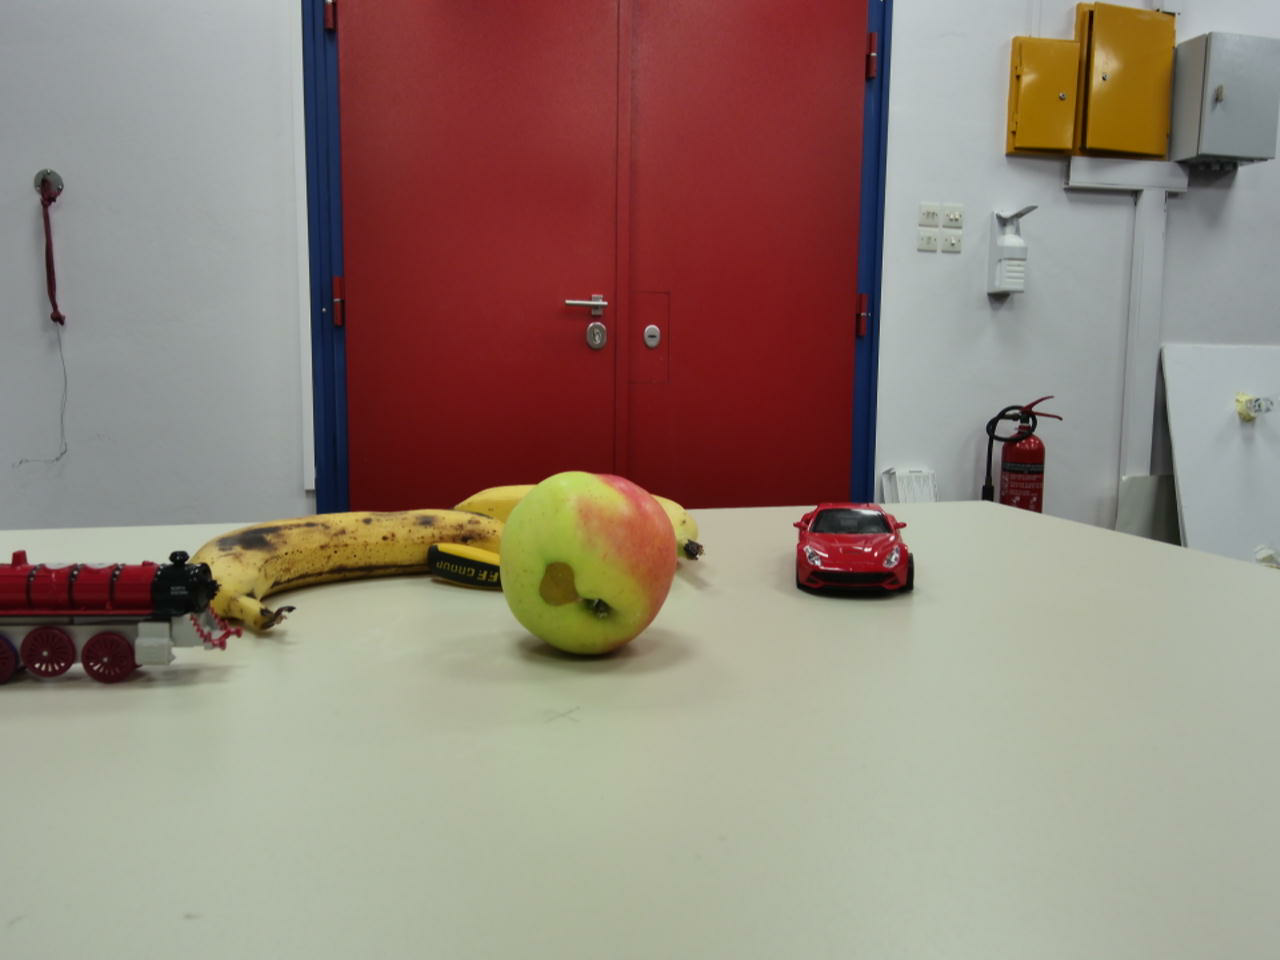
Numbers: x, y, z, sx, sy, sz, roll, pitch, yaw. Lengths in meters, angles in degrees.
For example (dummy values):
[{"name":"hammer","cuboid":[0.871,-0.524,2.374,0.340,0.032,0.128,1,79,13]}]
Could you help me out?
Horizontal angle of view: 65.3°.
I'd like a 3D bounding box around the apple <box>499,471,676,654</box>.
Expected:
[{"name":"apple","cuboid":[-0.021,0.034,0.421,0.075,0.074,0.075,-3,5,-33]}]
